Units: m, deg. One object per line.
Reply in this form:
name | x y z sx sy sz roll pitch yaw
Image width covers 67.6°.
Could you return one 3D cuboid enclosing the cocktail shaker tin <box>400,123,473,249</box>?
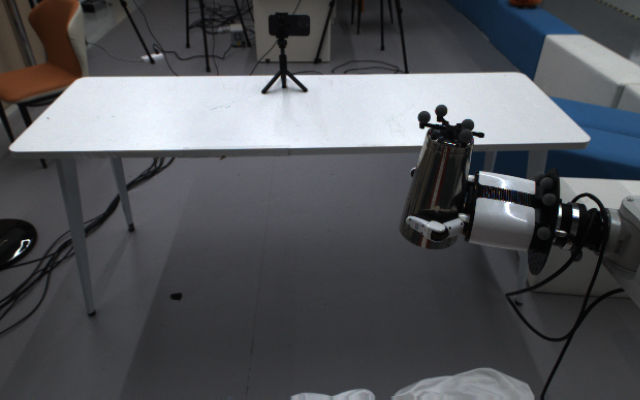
cocktail shaker tin | 0.178 -0.022 0.724 0.093 0.170 0.093 3 34 -2
